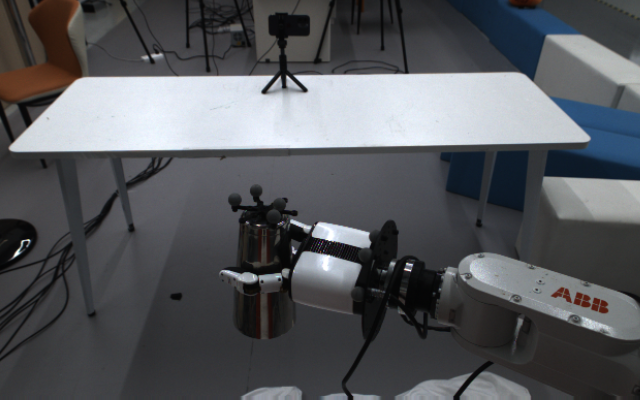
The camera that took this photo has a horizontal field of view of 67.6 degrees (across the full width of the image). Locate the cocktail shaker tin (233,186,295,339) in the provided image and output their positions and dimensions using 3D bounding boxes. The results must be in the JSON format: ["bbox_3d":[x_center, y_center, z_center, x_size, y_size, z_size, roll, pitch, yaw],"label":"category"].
[{"bbox_3d":[-0.076,0.097,0.674,0.093,0.170,0.093,2,25,-1],"label":"cocktail shaker tin"}]
